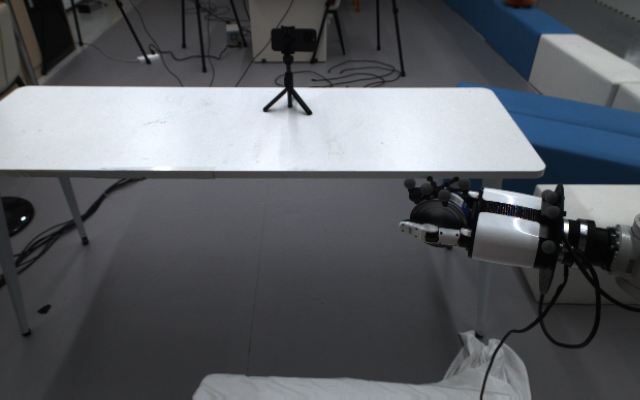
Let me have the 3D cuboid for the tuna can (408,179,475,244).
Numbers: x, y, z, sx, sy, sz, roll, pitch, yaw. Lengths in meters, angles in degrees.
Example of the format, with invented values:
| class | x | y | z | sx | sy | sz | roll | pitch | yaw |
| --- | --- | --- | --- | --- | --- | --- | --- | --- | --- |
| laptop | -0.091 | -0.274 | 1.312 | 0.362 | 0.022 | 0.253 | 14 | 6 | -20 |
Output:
| class | x | y | z | sx | sy | sz | roll | pitch | yaw |
| --- | --- | --- | --- | --- | --- | --- | --- | --- | --- |
| tuna can | 0.182 | 0.025 | 0.728 | 0.085 | 0.085 | 0.034 | 17 | 37 | 20 |
